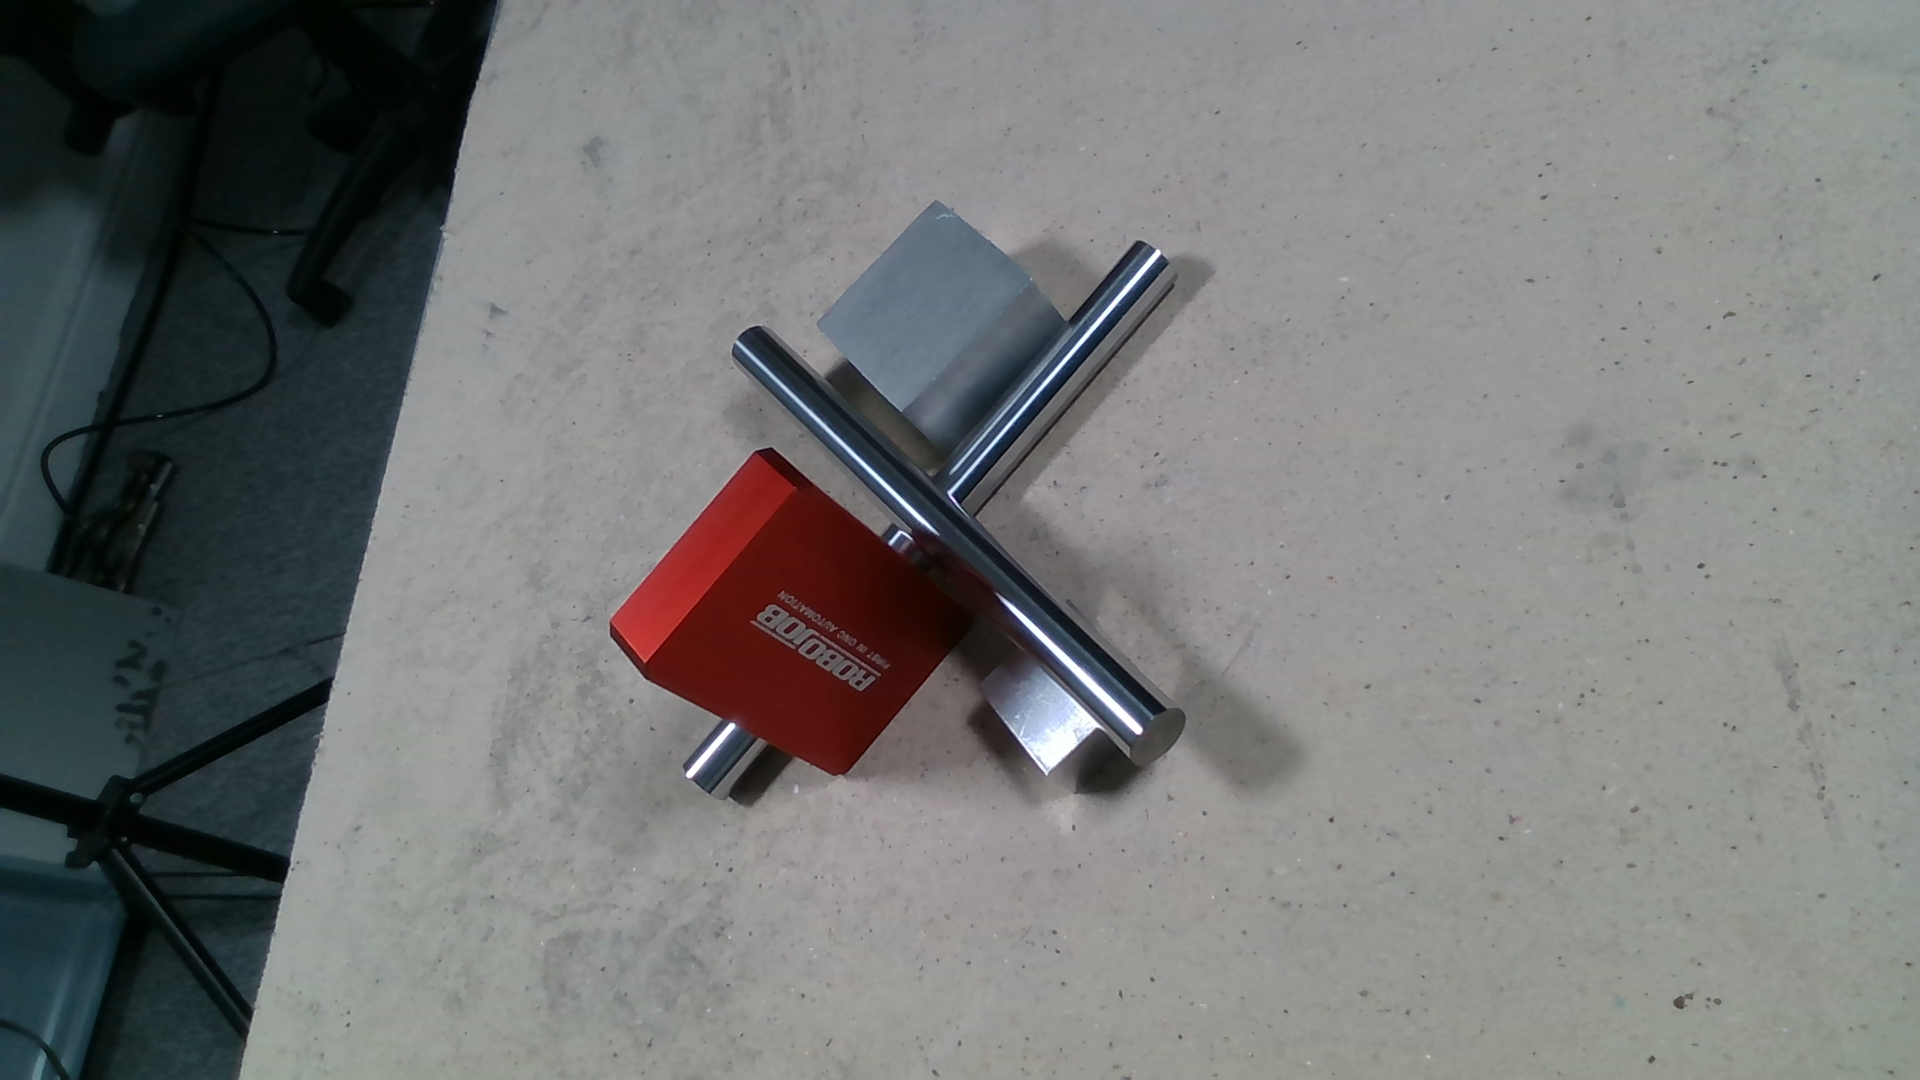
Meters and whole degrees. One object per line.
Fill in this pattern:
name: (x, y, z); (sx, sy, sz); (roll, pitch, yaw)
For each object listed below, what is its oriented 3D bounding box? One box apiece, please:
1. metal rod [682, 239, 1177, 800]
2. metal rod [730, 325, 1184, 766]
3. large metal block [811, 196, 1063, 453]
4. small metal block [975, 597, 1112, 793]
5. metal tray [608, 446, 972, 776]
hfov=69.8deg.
metal rod: (-0.013, -0.009, 0.599); (0.300, 0.025, 0.025); (-49, 51, 0)
metal rod: (-0.016, -0.012, 0.569); (0.025, 0.025, 0.299); (-47, 51, 1)
large metal block: (-0.007, -0.095, 0.623); (0.080, 0.050, 0.080); (-45, 51, 3)
small metal block: (0.042, 0.059, 0.528); (0.050, 0.025, 0.050); (-44, 51, 4)
metal tray: (-0.061, 0.032, 0.538); (0.090, 0.130, 0.030); (-49, 50, -1)
